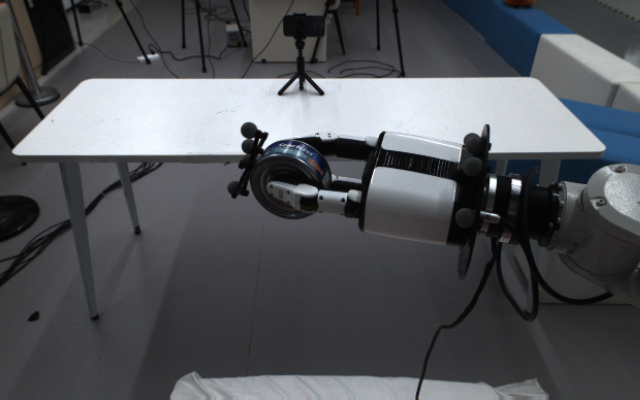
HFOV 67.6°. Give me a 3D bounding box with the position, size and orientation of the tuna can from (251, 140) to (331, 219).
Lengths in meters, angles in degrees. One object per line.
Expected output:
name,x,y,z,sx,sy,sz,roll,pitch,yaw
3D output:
tuna can,-0.031,-0.022,0.533,0.085,0.085,0.034,9,35,10
